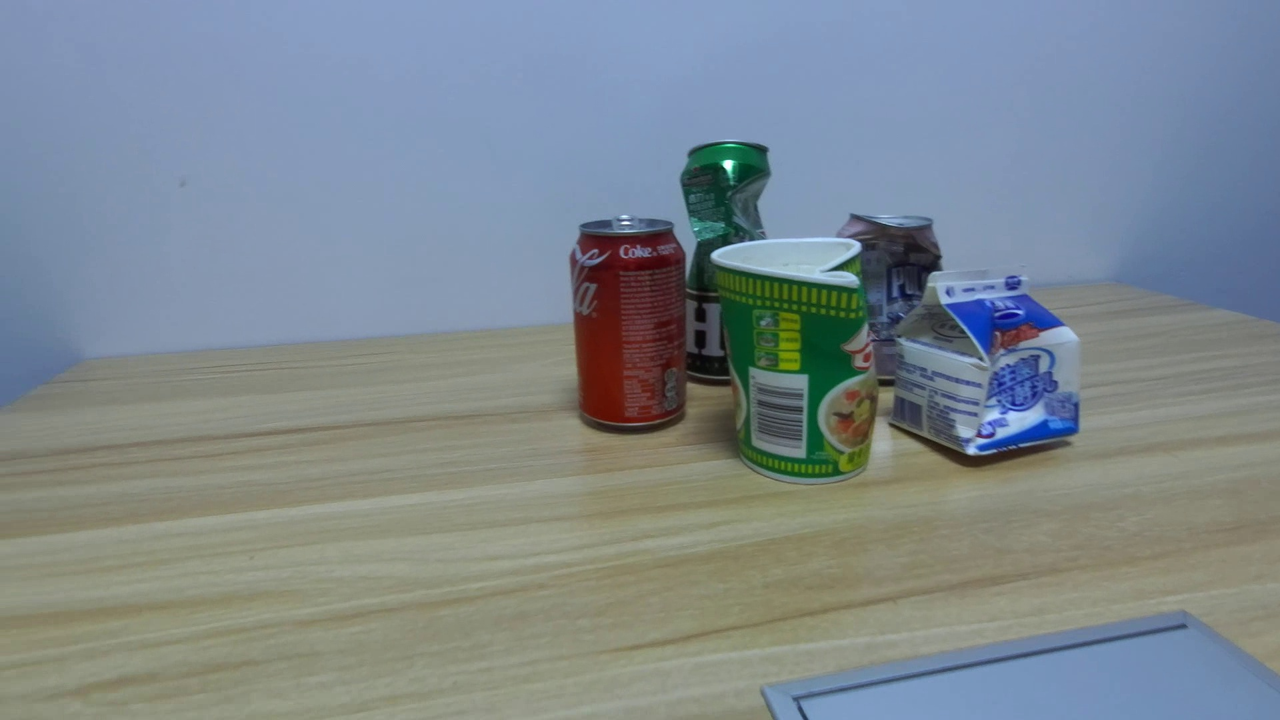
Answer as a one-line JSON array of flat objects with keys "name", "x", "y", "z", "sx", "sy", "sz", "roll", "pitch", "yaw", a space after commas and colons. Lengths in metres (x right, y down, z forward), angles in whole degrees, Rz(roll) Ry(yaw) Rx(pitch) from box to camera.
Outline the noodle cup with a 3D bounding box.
[{"name": "noodle cup", "x": 0.084, "y": -0.001, "z": 0.365, "sx": 0.086, "sy": 0.109, "sz": 0.094, "roll": 13, "pitch": 24, "yaw": 36}]

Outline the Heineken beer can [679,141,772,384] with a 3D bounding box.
[{"name": "Heineken beer can", "x": 0.061, "y": -0.067, "z": 0.486, "sx": 0.067, "sy": 0.159, "sz": 0.078, "roll": -4, "pitch": 12, "yaw": -12}]

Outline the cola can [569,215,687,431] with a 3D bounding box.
[{"name": "cola can", "x": -0.006, "y": -0.023, "z": 0.421, "sx": 0.068, "sy": 0.120, "sz": 0.068, "roll": -2, "pitch": 19, "yaw": 1}]

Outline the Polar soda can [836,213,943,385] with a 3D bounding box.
[{"name": "Polar soda can", "x": 0.168, "y": -0.043, "z": 0.484, "sx": 0.074, "sy": 0.114, "sz": 0.070, "roll": -22, "pitch": 33, "yaw": -38}]

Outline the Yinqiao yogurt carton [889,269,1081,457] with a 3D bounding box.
[{"name": "Yinqiao yogurt carton", "x": 0.187, "y": -0.004, "z": 0.392, "sx": 0.077, "sy": 0.094, "sz": 0.071, "roll": -8, "pitch": 13, "yaw": -20}]
